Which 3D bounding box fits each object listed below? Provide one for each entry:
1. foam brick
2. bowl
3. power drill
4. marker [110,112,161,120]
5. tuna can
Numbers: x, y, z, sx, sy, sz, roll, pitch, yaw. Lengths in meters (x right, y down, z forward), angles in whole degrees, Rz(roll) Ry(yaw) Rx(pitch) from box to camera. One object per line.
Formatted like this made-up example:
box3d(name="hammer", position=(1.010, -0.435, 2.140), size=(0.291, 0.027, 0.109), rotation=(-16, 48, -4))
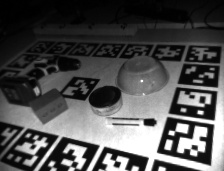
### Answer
box3d(name="foam brick", position=(-0.161, 0.054, 0.582), size=(0.050, 0.053, 0.078), rotation=(26, 55, 38))
box3d(name="bowl", position=(0.084, -0.053, 0.644), size=(0.161, 0.055, 0.161), rotation=(-9, 31, 6))
box3d(name="power drill", position=(-0.229, -0.031, 0.698), size=(0.183, 0.058, 0.187), rotation=(7, 40, 19))
box3d(name="marker", position=(0.055, 0.071, 0.510), size=(0.120, 0.020, 0.019), rotation=(-2, 42, 14))
box3d(name="tuna can", position=(-0.007, 0.027, 0.573), size=(0.085, 0.034, 0.085), rotation=(-6, 40, 6))
